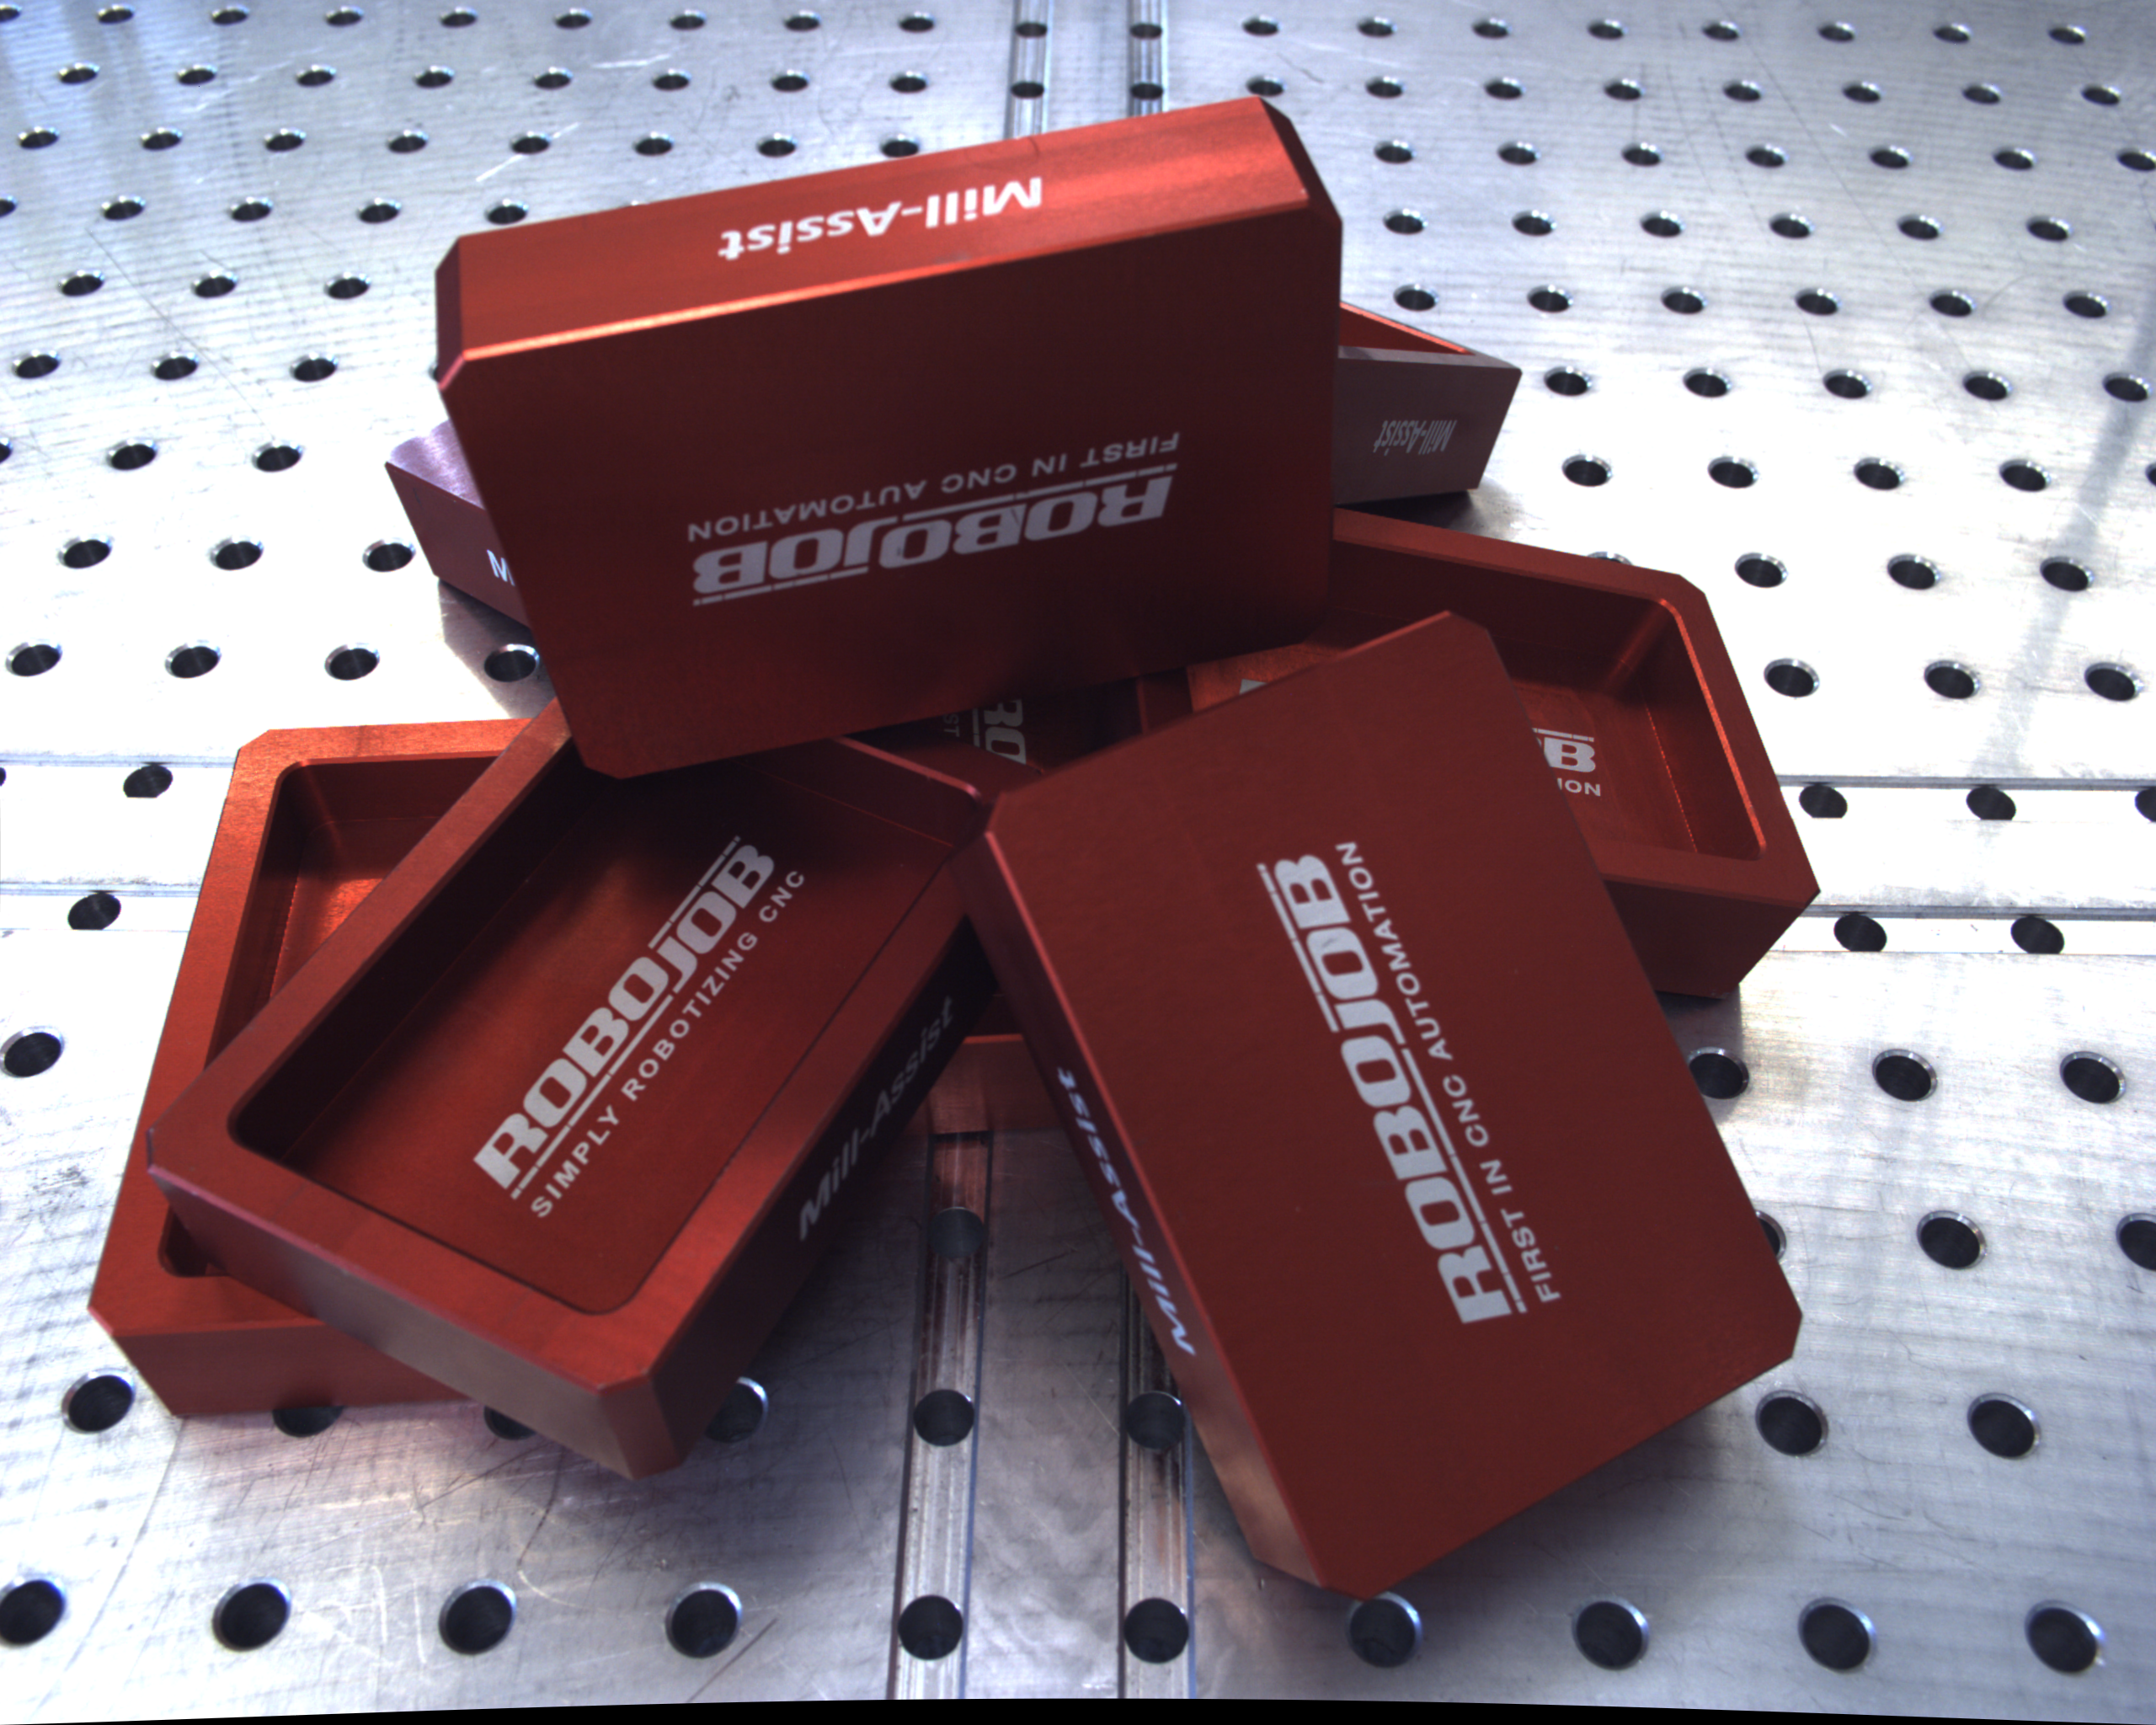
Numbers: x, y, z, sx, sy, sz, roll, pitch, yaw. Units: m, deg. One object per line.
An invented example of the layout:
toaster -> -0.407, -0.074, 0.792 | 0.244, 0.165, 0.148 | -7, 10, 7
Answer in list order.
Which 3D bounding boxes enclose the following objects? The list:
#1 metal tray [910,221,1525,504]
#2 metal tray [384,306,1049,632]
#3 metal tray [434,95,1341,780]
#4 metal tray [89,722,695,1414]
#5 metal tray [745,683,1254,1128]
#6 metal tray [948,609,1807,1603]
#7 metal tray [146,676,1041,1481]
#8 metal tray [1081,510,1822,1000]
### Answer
metal tray -> 0.033, -0.109, 0.452 | 0.090, 0.030, 0.131 | 27, 22, 21
metal tray -> -0.077, -0.080, 0.450 | 0.090, 0.030, 0.130 | -38, 44, -27
metal tray -> -0.026, -0.065, 0.336 | 0.131, 0.090, 0.030 | -12, 51, -4
metal tray -> -0.114, 0.031, 0.378 | 0.091, 0.030, 0.130 | -3, 49, -3
metal tray -> -0.017, -0.010, 0.412 | 0.091, 0.030, 0.130 | -2, 48, -4
metal tray -> 0.047, 0.036, 0.331 | 0.091, 0.030, 0.130 | -23, 87, -18
metal tray -> -0.072, 0.024, 0.345 | 0.090, 0.030, 0.130 | 21, 53, 17
metal tray -> 0.068, -0.025, 0.402 | 0.131, 0.030, 0.090 | 8, 48, -16
